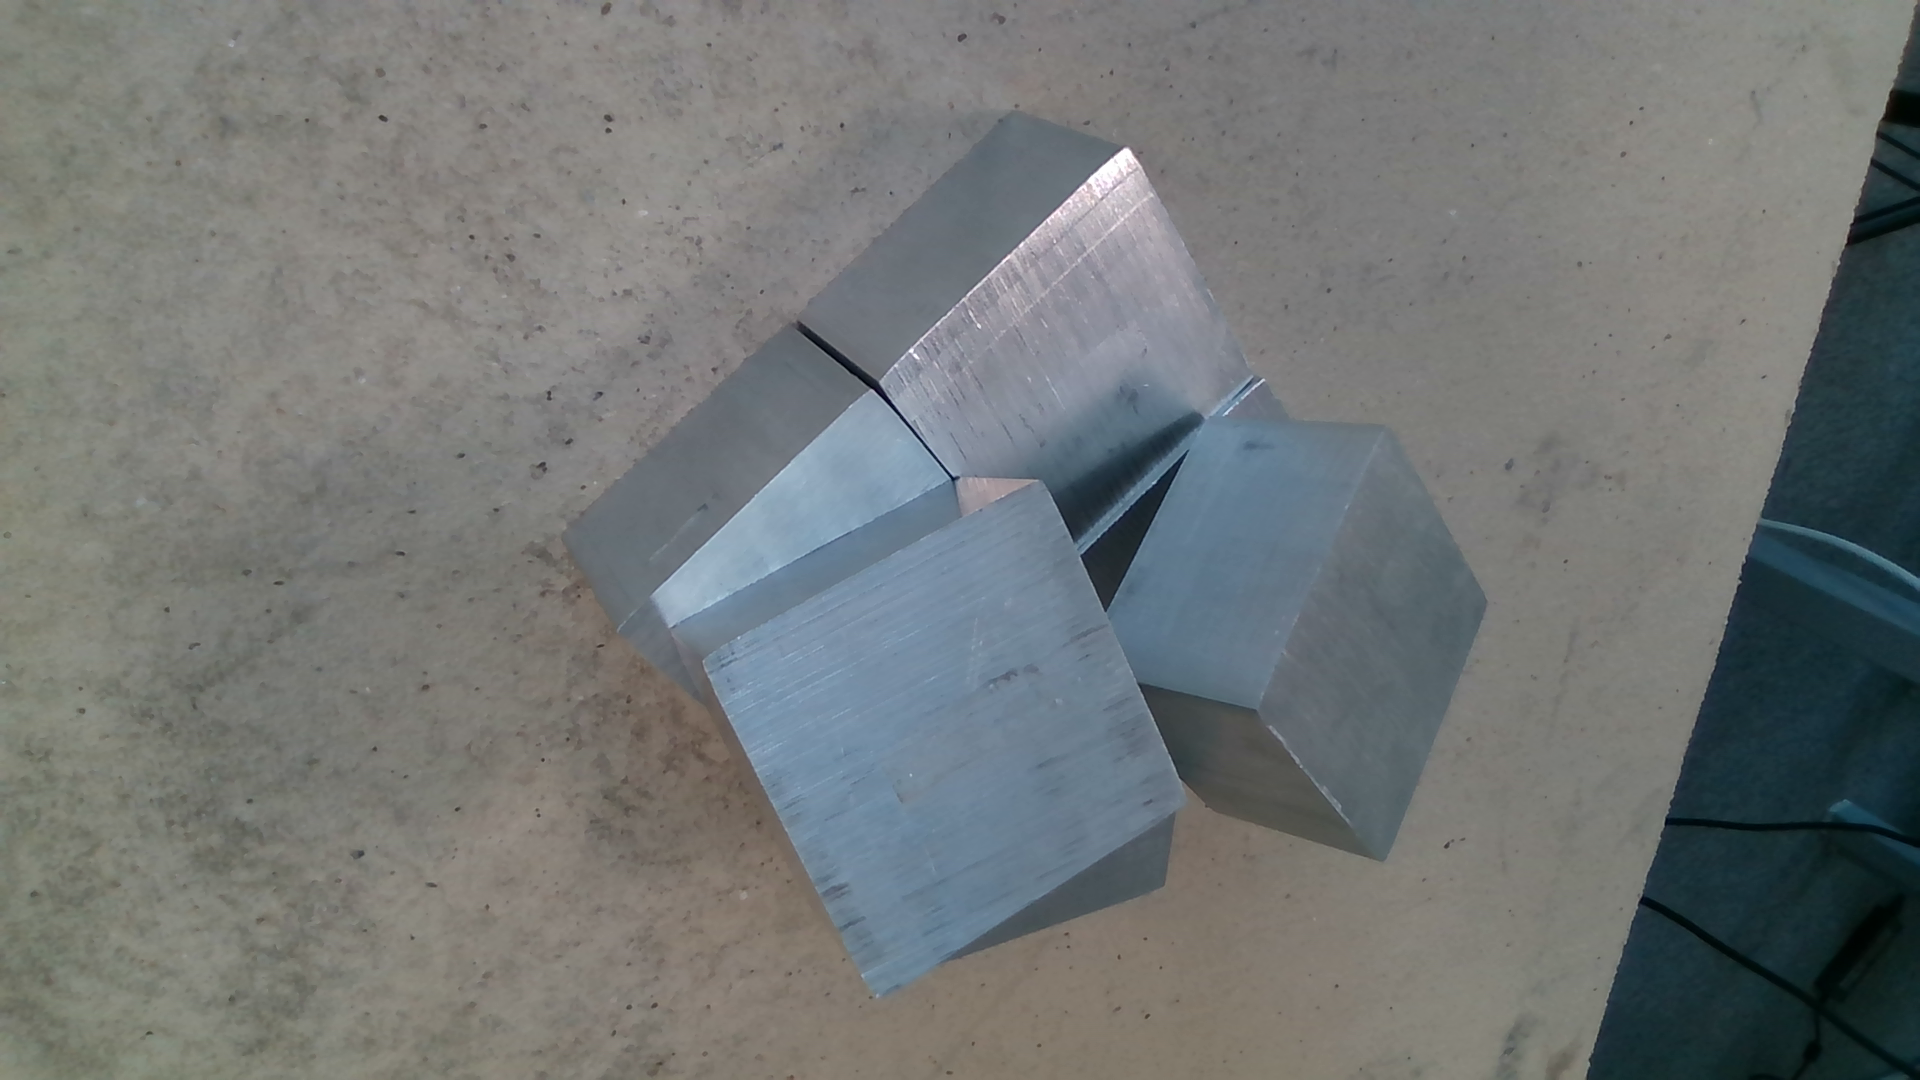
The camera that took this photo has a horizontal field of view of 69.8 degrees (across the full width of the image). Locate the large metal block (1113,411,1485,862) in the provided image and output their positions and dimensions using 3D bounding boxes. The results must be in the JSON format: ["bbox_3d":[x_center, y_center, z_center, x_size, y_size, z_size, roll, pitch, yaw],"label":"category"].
[{"bbox_3d":[0.087,0.024,0.355,0.080,0.050,0.080,46,64,-40],"label":"large metal block"}]

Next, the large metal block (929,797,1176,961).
[{"bbox_3d":[0.006,0.066,0.394,0.080,0.080,0.050,-11,120,-26],"label":"large metal block"}]

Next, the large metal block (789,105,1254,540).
[{"bbox_3d":[0.017,-0.051,0.358,0.080,0.050,0.080,-44,129,-3],"label":"large metal block"}]

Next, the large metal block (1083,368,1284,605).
[{"bbox_3d":[0.061,-0.004,0.408,0.080,0.050,0.080,-44,130,-4],"label":"large metal block"}]

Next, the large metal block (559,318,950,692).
[{"bbox_3d":[-0.040,0.005,0.354,0.080,0.050,0.080,-44,129,-4],"label":"large metal block"}]

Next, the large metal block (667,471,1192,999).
[{"bbox_3d":[-0.008,0.038,0.306,0.080,0.050,0.080,-29,102,-15],"label":"large metal block"}]
